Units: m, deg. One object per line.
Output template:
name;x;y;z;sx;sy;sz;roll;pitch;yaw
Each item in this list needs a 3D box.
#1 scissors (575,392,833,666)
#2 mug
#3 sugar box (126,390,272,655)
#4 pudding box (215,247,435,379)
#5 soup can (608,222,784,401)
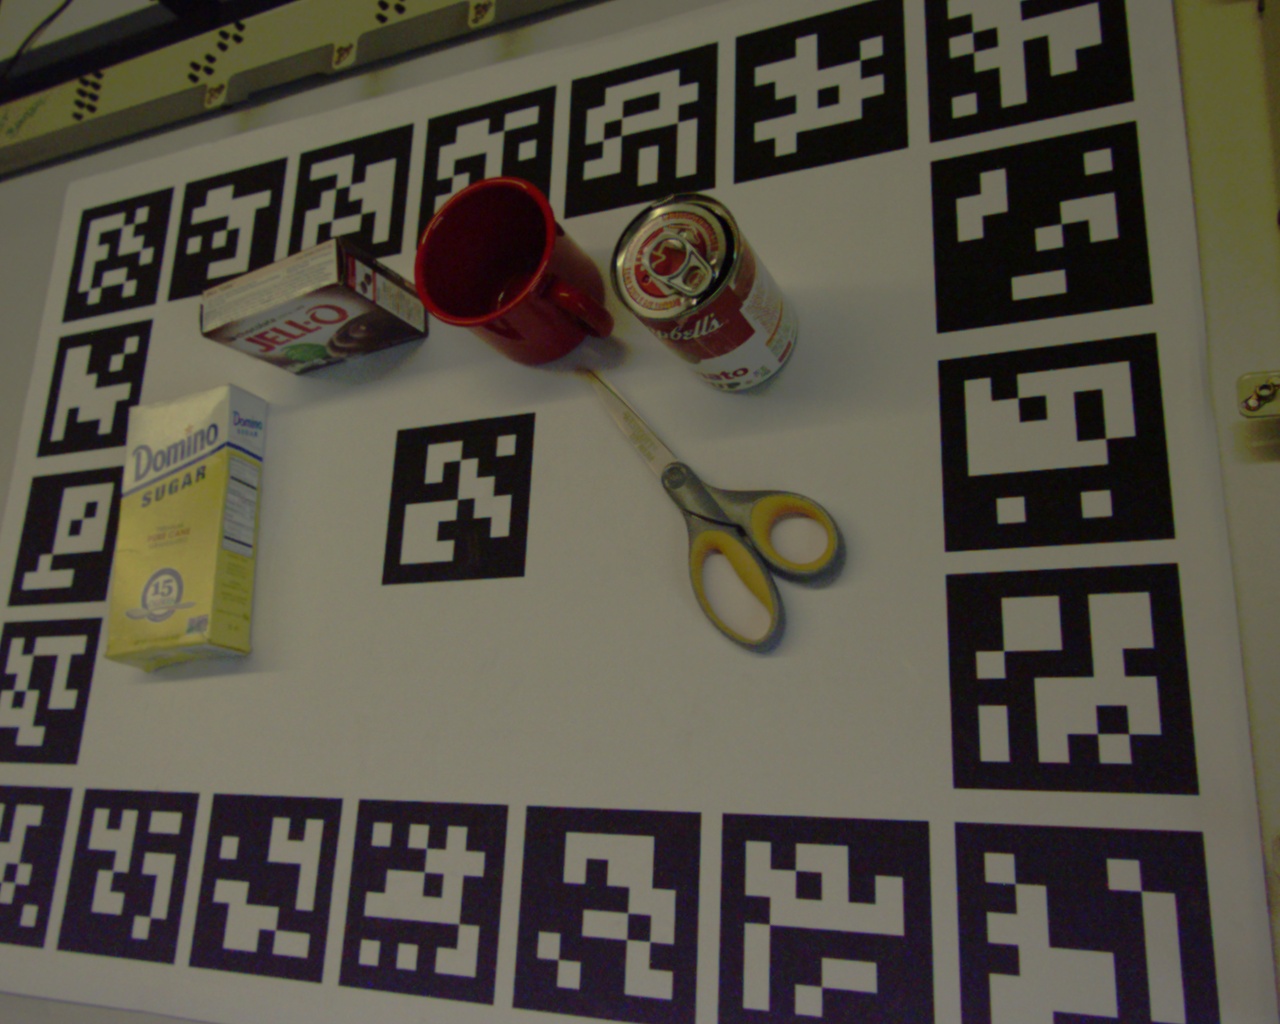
scissors;0.025;-0.007;0.657;0.088;0.015;0.205;-50;63;17
mug;-0.069;-0.139;0.701;0.093;0.080;0.118;-41;62;14
sugar box;-0.310;0.009;0.804;0.094;0.045;0.177;-8;75;26
pudding box;-0.209;-0.130;0.758;0.115;0.089;0.039;-14;78;21
soup can;0.035;-0.109;0.640;0.068;0.101;0.068;-8;73;24
